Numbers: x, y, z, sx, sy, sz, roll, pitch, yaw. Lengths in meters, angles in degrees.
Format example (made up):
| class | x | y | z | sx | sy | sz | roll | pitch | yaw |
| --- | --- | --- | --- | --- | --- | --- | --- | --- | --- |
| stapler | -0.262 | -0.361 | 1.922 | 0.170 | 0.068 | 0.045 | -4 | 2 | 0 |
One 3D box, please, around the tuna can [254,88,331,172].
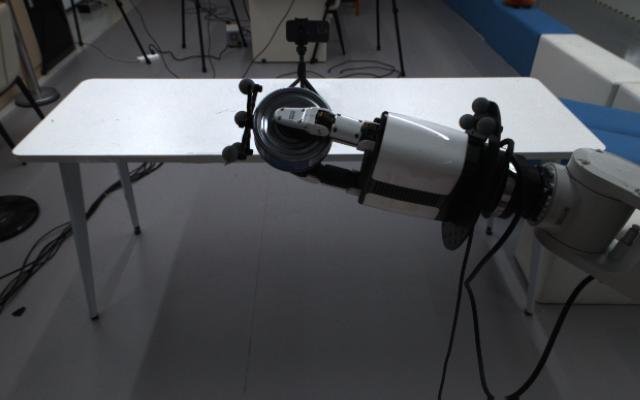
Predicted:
| class | x | y | z | sx | sy | sz | roll | pitch | yaw |
| --- | --- | --- | --- | --- | --- | --- | --- | --- | --- |
| tuna can | -0.024 | -0.071 | 0.510 | 0.085 | 0.034 | 0.085 | 1 | 73 | -5 |
